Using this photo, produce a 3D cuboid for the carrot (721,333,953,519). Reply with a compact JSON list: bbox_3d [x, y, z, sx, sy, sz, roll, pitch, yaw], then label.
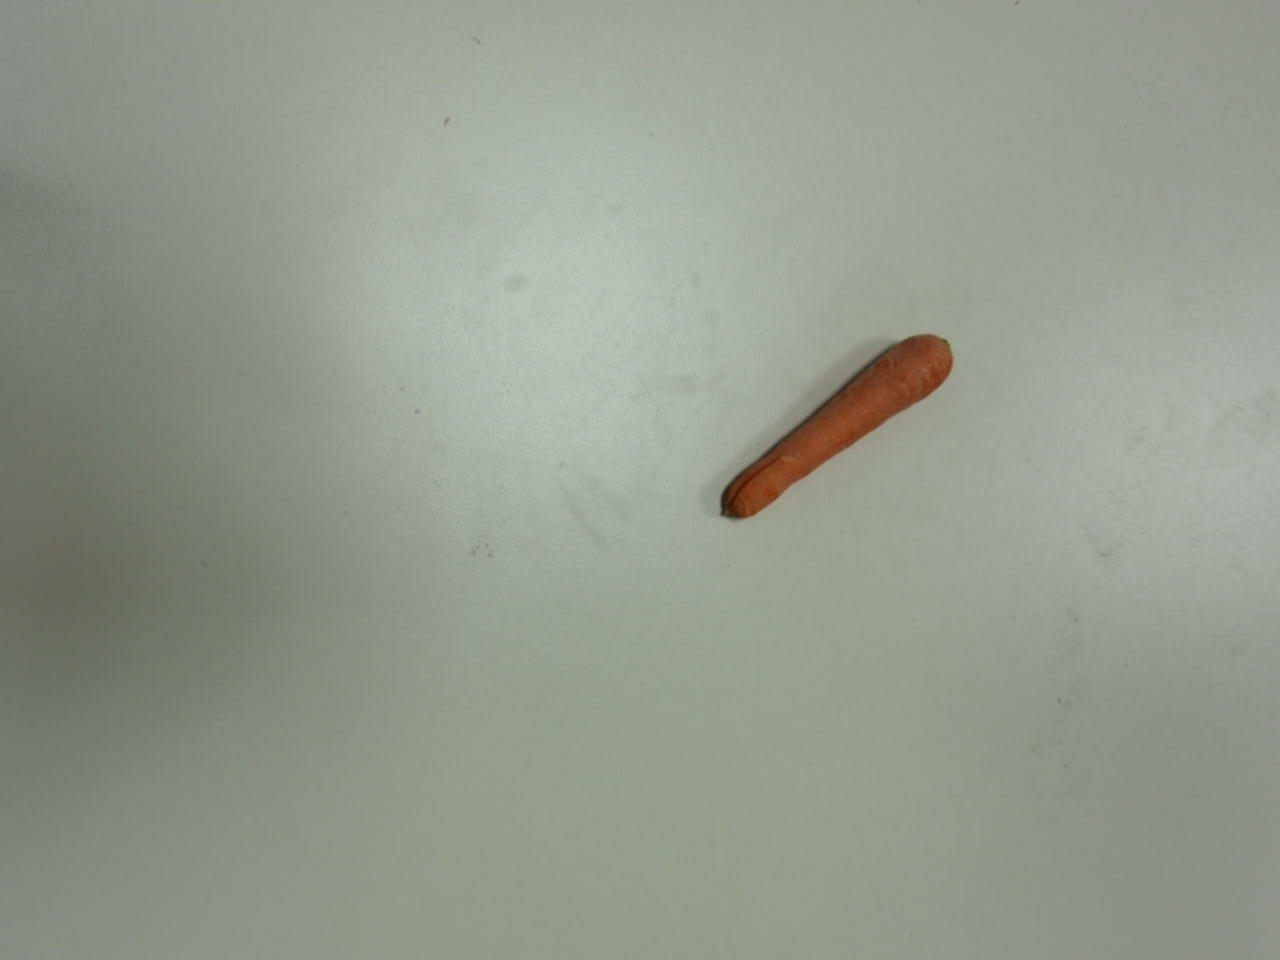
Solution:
[{"bbox_3d":[0.092,-0.026,0.468,0.136,0.032,0.030,-36,98,-10],"label":"carrot"}]
